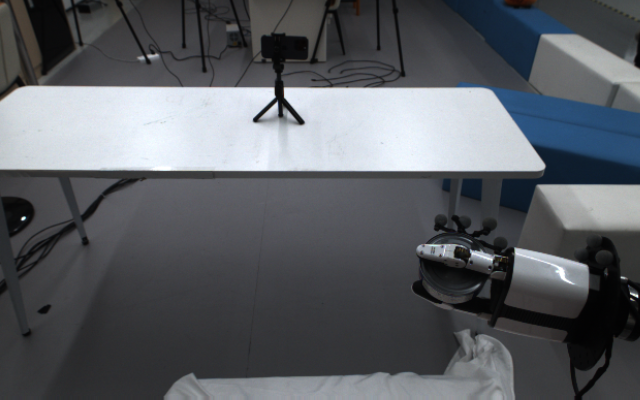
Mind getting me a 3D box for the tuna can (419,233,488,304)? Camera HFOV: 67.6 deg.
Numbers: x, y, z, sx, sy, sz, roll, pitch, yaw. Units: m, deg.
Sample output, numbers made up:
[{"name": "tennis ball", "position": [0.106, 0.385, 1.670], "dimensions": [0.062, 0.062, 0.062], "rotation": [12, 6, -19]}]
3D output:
[{"name": "tuna can", "position": [0.169, 0.081, 0.609], "dimensions": [0.085, 0.034, 0.085], "rotation": [-4, 55, 6]}]
